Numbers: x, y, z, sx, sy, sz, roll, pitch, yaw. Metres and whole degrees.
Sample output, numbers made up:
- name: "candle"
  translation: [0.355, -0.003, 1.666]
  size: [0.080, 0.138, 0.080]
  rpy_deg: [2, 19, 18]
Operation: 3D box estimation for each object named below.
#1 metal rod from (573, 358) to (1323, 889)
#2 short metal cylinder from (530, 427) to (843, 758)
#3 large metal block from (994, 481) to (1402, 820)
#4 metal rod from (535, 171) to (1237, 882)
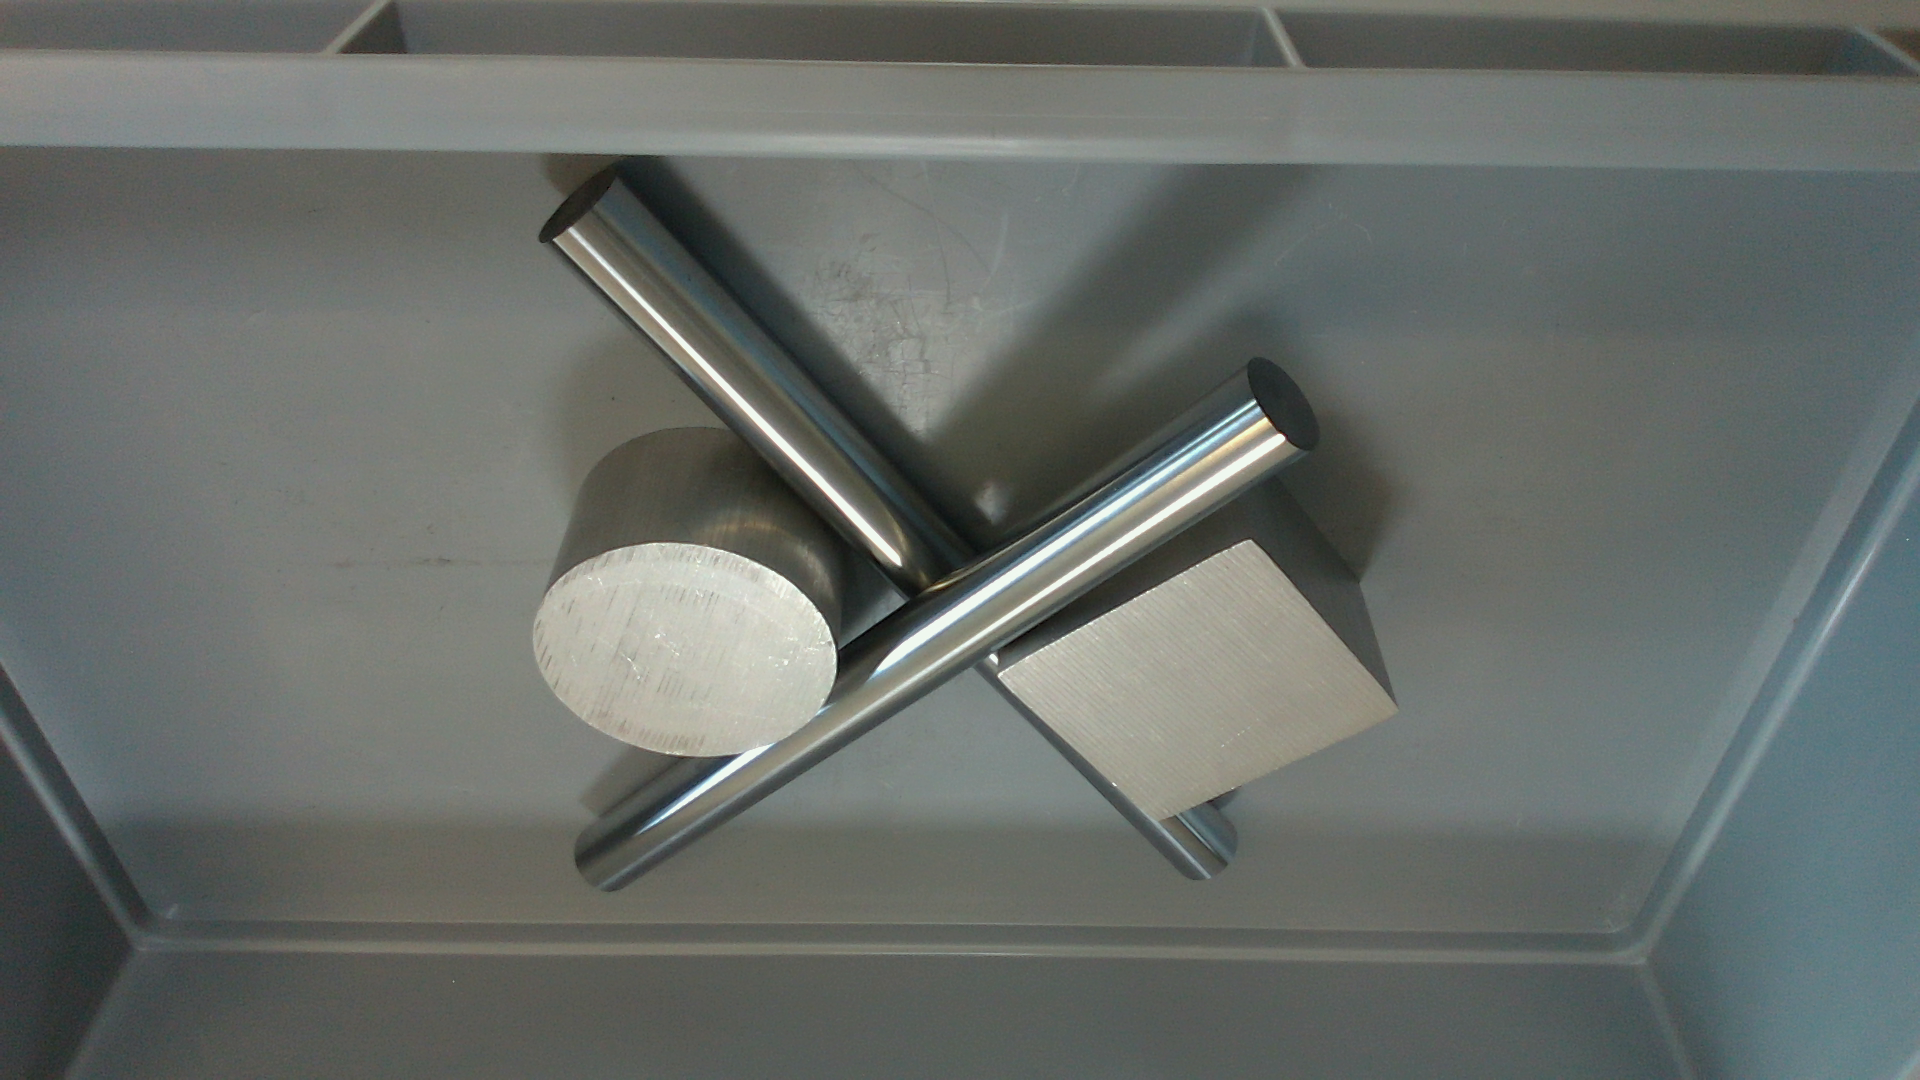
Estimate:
- name: "metal rod"
  translation: [-0.026, 0.040, 0.395]
  size: [0.025, 0.025, 0.299]
  rpy_deg: [34, 130, -26]
- name: "short metal cylinder"
  translation: [-0.074, 0.016, 0.385]
  size: [0.080, 0.050, 0.080]
  rpy_deg: [0, 130, 0]
- name: "large metal block"
  translation: [0.065, 0.024, 0.392]
  size: [0.080, 0.050, 0.080]
  rpy_deg: [-31, 124, 24]
- name: "metal rod"
  translation: [-0.002, 0.015, 0.401]
  size: [0.025, 0.025, 0.301]
  rpy_deg: [-29, 125, 22]
